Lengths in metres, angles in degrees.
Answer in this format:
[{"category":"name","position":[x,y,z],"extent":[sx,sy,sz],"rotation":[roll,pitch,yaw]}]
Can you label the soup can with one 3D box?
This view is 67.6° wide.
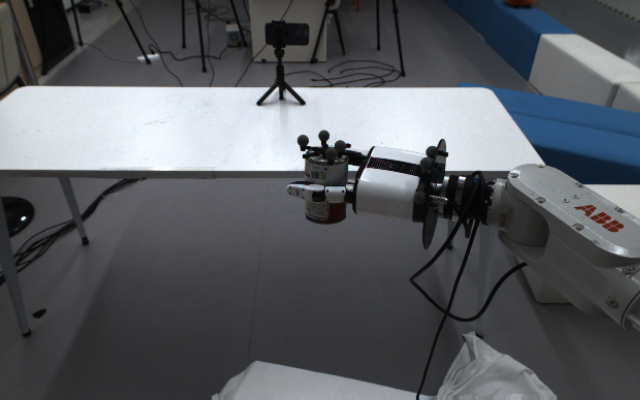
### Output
[{"category":"soup can","position":[0.010,-0.022,0.743],"extent":[0.067,0.101,0.067],"rotation":[1,25,0]}]
